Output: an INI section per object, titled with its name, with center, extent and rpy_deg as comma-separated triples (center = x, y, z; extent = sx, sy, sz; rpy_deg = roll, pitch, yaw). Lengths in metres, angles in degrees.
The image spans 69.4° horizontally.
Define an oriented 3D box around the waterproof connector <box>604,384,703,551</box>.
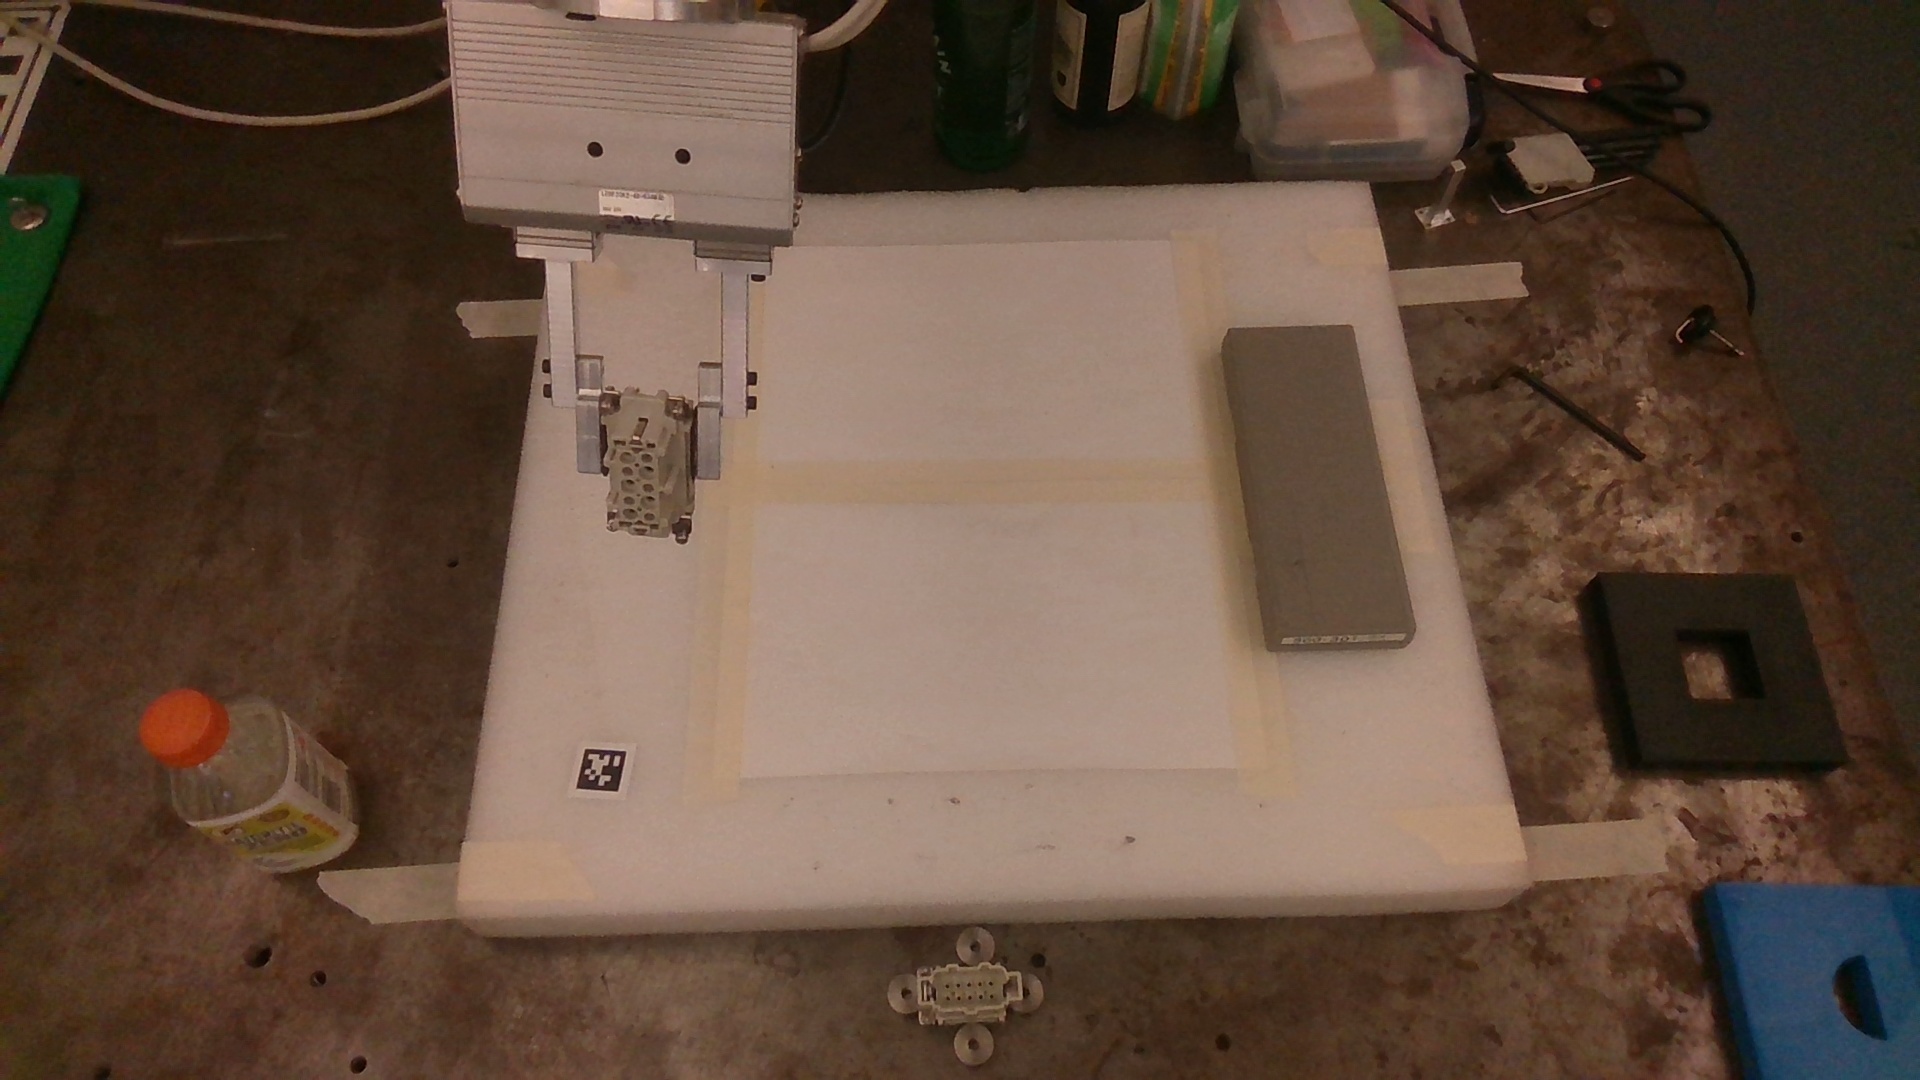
[waterproof connector]
center = -0.124, -0.029, 0.554
extent = 0.037, 0.069, 0.038
rpy_deg = 6, 26, 0
